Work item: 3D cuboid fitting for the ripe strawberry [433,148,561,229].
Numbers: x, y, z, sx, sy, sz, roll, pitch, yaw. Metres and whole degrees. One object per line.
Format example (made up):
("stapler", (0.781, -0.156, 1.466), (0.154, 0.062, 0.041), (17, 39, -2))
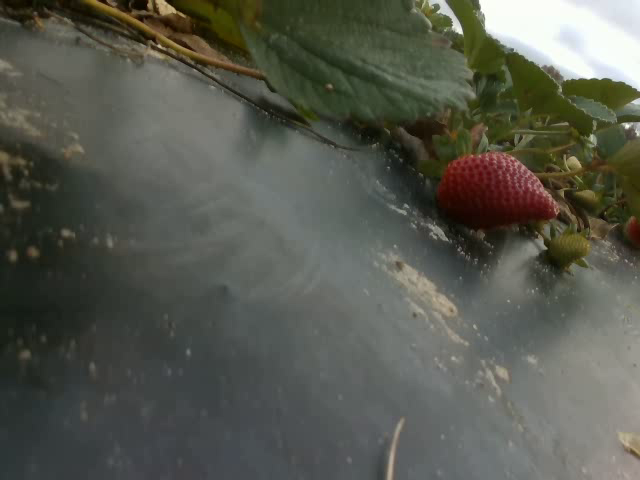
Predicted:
("ripe strawberry", (0.079, -0.021, 0.257), (0.050, 0.034, 0.059), (14, 12, -41))
